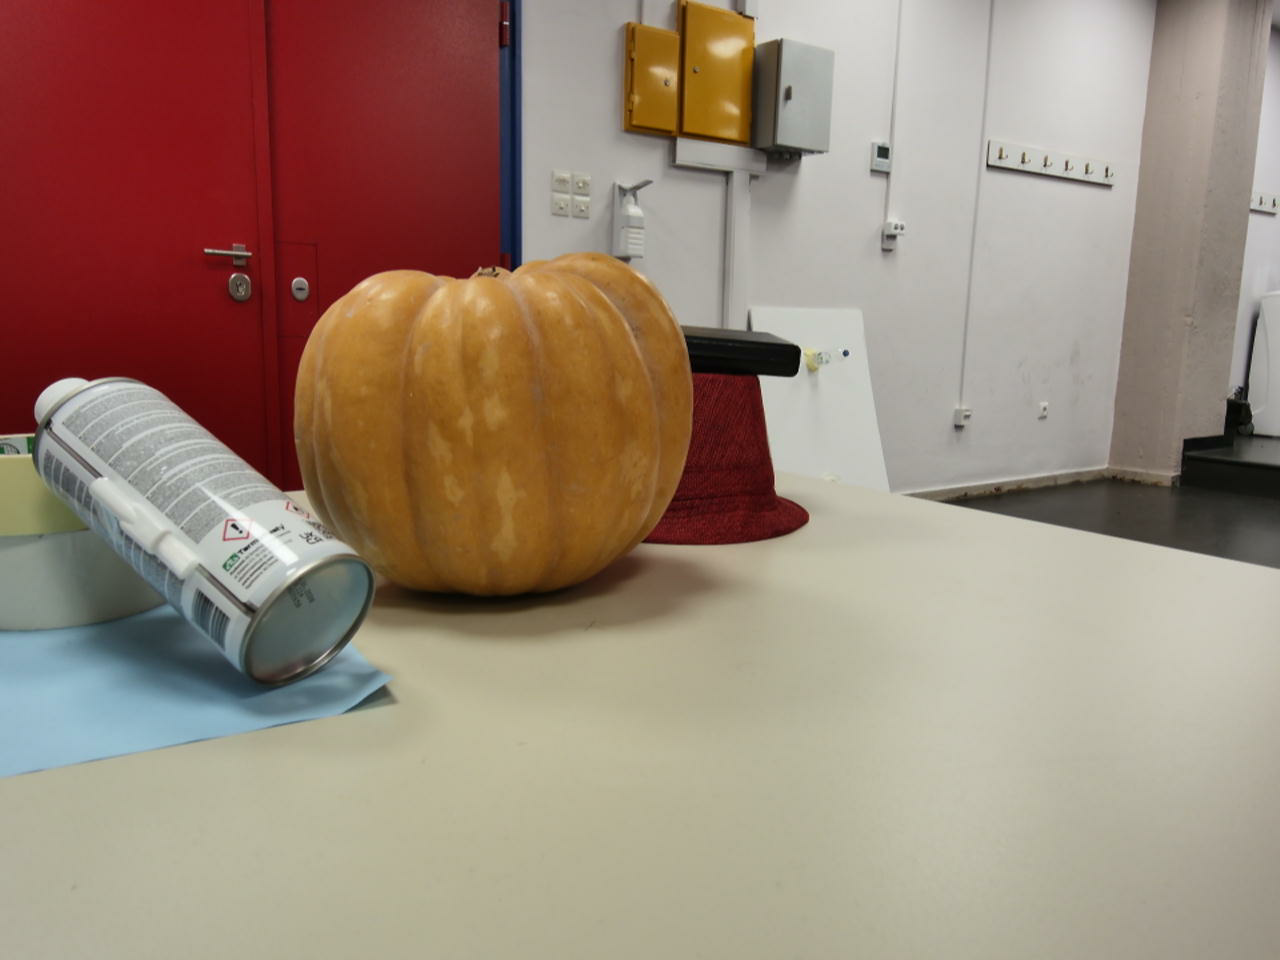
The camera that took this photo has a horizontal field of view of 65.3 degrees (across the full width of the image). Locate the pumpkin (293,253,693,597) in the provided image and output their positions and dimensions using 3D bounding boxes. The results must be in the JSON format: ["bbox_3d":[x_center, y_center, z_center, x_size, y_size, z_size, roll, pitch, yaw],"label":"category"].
[{"bbox_3d":[-0.080,-0.035,0.579,0.230,0.194,0.230,1,8,0],"label":"pumpkin"}]
